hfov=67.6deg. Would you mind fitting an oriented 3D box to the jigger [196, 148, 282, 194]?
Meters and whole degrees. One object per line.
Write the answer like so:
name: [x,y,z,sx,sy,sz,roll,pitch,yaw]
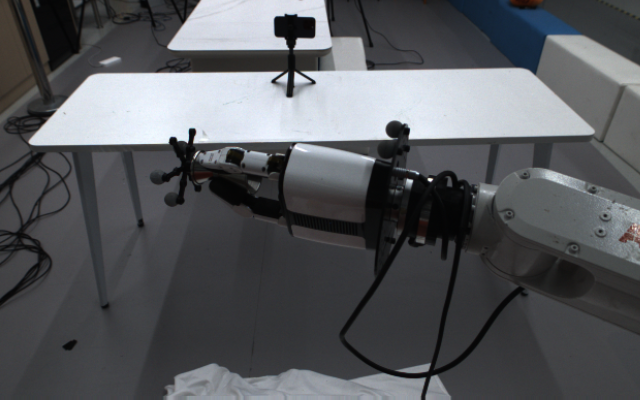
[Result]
jigger: [-0.097,-0.036,0.535,0.071,0.043,0.043,7,35,15]
